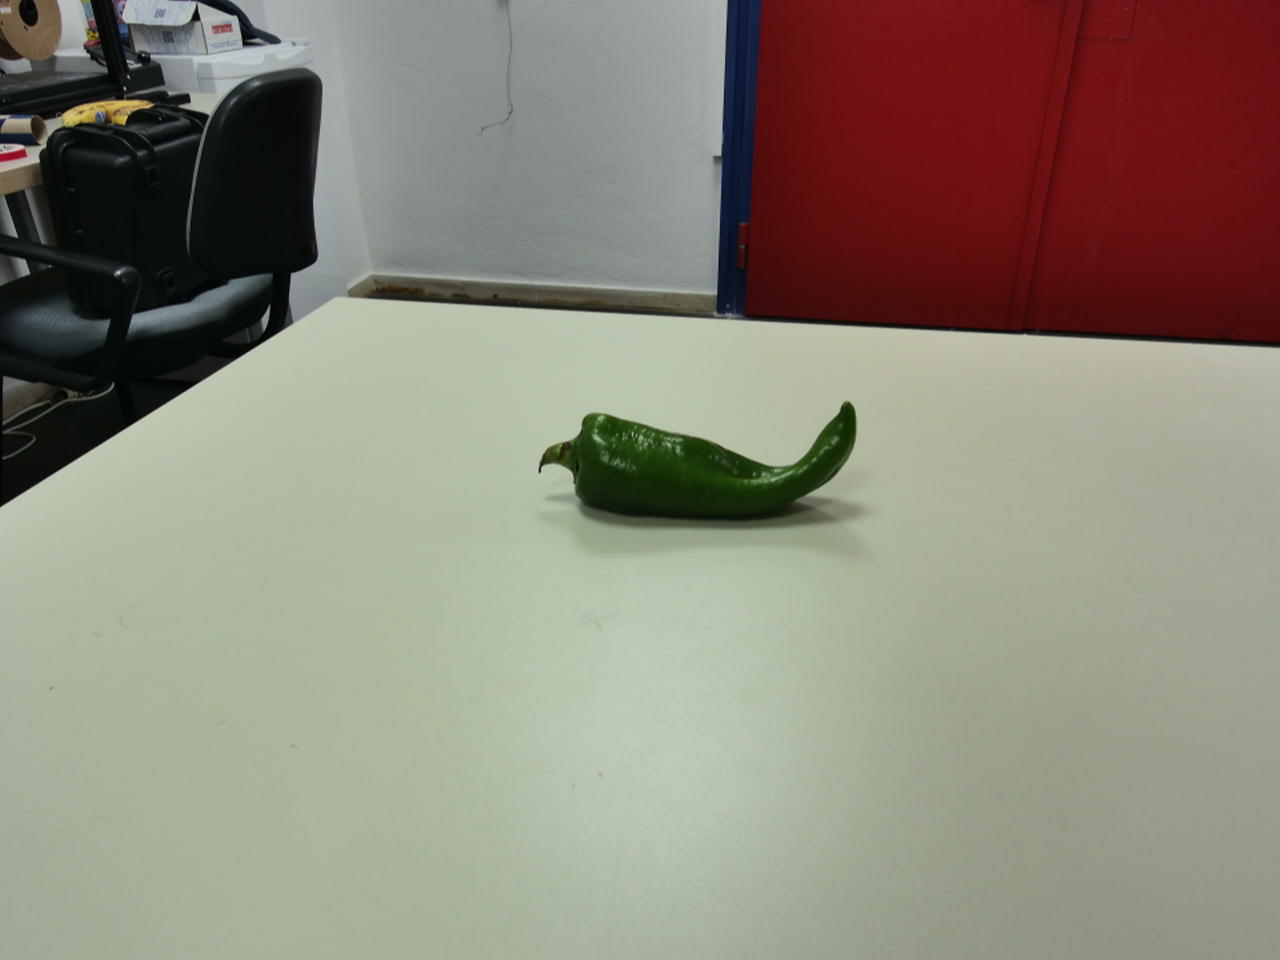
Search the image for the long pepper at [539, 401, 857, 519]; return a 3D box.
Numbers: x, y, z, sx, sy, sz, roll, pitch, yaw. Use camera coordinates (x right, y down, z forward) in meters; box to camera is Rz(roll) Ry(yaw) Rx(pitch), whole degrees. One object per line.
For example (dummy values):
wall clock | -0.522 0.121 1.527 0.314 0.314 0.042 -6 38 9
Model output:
long pepper | 0.029 -0.014 0.549 0.175 0.065 0.058 4 26 10
